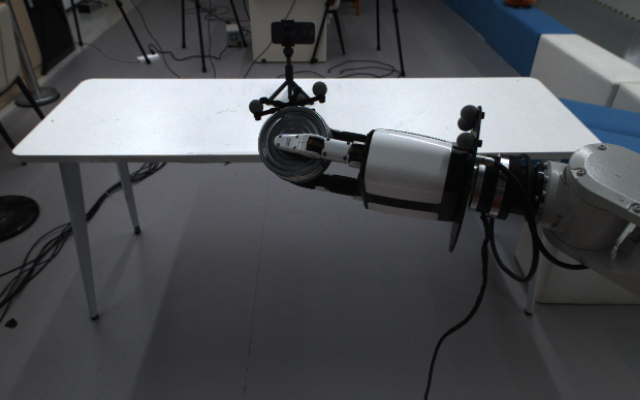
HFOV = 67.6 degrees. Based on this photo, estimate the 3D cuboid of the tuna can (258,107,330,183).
[{"bbox_3d":[-0.023,-0.059,0.562,0.085,0.085,0.034,12,-4,14],"label":"tuna can"}]
